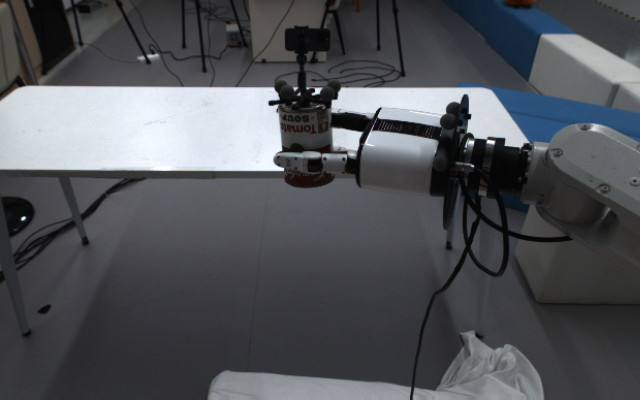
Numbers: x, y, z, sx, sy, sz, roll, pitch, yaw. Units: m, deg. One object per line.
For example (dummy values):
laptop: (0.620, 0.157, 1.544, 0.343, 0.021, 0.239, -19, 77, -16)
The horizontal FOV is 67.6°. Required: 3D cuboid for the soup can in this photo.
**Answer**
soup can: (-0.015, -0.076, 0.621, 0.067, 0.101, 0.067, -3, 27, 2)
